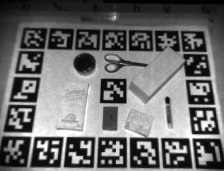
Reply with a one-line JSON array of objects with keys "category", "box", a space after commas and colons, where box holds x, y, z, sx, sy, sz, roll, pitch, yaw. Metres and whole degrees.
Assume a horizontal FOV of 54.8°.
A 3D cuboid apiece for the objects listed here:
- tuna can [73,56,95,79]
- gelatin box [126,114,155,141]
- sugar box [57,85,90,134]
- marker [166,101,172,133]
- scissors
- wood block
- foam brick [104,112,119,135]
[{"category": "tuna can", "box": [-0.109, -0.070, 0.859, 0.086, 0.034, 0.085, 0, 72, 0]}, {"category": "gelatin box", "box": [0.104, 0.153, 0.792, 0.089, 0.030, 0.073, 19, 74, 6]}, {"category": "sugar box", "box": [-0.140, 0.089, 0.805, 0.093, 0.045, 0.176, 6, 72, 1]}, {"category": "marker", "box": [0.214, 0.117, 0.808, 0.019, 0.020, 0.121, 3, 74, 1]}, {"category": "scissors", "box": [0.064, -0.072, 0.873, 0.202, 0.016, 0.087, 8, 72, 4]}, {"category": "wood block", "box": [0.179, -0.021, 0.821, 0.207, 0.091, 0.089, -43, 75, -14]}, {"category": "foam brick", "box": [0.000, 0.138, 0.781, 0.053, 0.051, 0.078, 3, 73, 2]}]
